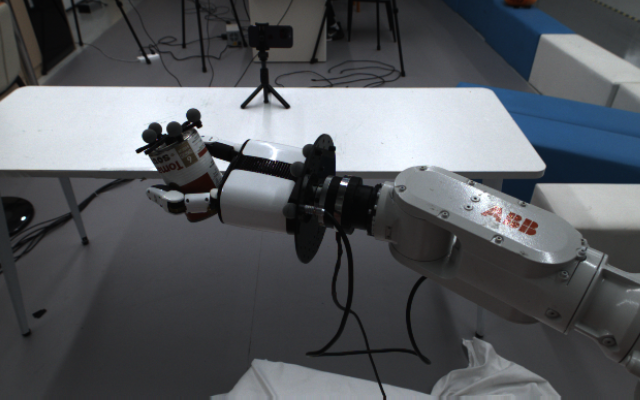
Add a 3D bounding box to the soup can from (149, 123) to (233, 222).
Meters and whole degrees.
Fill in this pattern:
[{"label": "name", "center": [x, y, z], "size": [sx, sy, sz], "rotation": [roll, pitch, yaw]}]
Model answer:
[{"label": "soup can", "center": [-0.162, -0.031, 0.617], "size": [0.067, 0.101, 0.067], "rotation": [-22, 24, 10]}]
